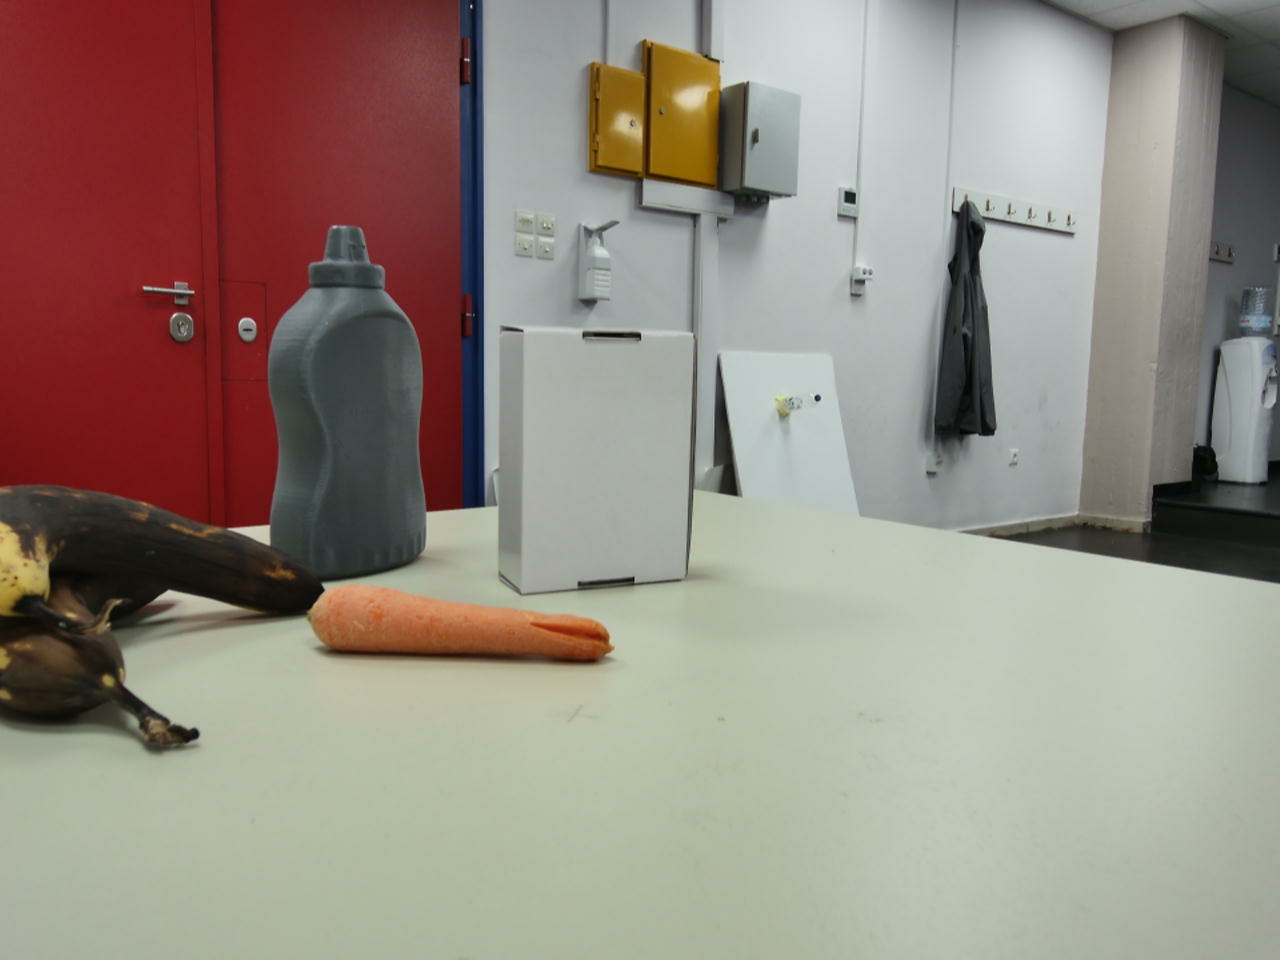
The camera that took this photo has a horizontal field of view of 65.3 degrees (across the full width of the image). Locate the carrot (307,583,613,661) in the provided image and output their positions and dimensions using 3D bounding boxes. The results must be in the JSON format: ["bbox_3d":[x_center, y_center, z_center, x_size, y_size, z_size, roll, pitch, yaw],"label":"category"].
[{"bbox_3d":[-0.080,0.062,0.440,0.136,0.032,0.030,1,4,8],"label":"carrot"}]
